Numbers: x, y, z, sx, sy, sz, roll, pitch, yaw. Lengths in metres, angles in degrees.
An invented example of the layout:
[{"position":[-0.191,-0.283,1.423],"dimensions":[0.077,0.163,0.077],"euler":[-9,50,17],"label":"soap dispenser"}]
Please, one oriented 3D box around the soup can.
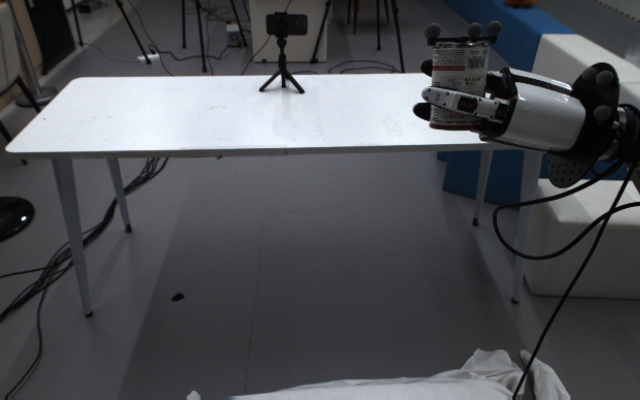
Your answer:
[{"position":[0.175,-0.142,0.604],"dimensions":[0.067,0.101,0.067],"euler":[-1,17,0],"label":"soup can"}]
